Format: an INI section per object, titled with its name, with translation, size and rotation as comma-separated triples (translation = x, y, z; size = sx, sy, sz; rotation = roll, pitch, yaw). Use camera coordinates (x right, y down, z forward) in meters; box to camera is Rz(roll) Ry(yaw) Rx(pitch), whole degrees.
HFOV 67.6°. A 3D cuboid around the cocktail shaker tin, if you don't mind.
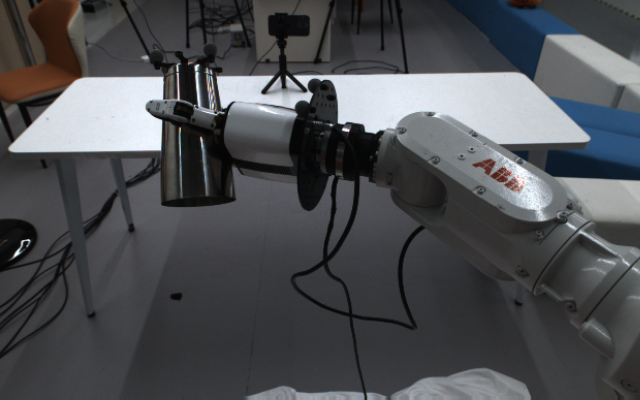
[cocktail shaker tin]
translation = -0.161, -0.080, 0.617
size = 0.093, 0.170, 0.093
rotation = -6, -7, -1
